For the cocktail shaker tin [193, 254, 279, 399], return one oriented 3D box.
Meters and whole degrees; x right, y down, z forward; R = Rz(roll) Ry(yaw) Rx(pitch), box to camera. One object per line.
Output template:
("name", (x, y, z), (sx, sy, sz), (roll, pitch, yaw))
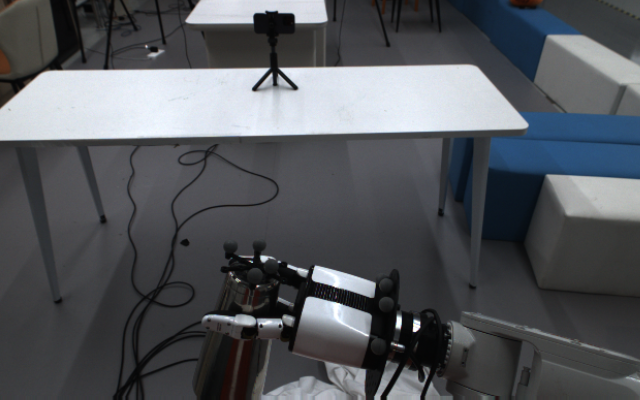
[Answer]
("cocktail shaker tin", (-0.098, 0.163, 0.608), (0.093, 0.170, 0.093), (14, 18, -5))
